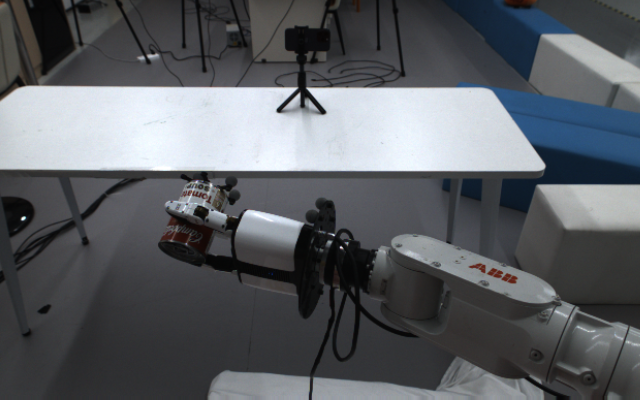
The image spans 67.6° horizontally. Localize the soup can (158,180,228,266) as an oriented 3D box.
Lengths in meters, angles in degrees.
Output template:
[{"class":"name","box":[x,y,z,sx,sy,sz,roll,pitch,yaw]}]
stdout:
[{"class":"soup can","box":[-0.177,0.032,0.689,0.067,0.067,0.101,9,60,10]}]
